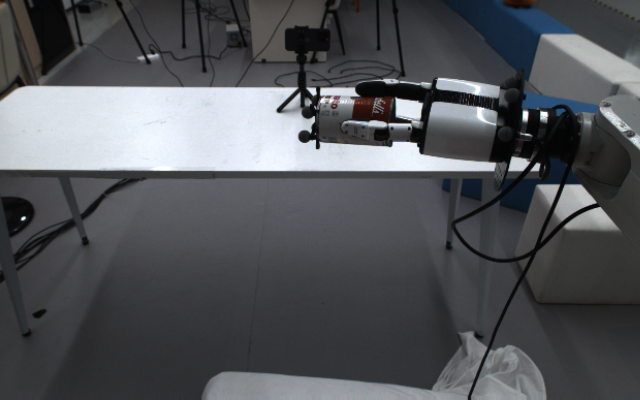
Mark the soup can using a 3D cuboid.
[{"bbox_3d":[0.053,-0.111,0.675,0.101,0.067,0.067,5,34,13],"label":"soup can"}]
